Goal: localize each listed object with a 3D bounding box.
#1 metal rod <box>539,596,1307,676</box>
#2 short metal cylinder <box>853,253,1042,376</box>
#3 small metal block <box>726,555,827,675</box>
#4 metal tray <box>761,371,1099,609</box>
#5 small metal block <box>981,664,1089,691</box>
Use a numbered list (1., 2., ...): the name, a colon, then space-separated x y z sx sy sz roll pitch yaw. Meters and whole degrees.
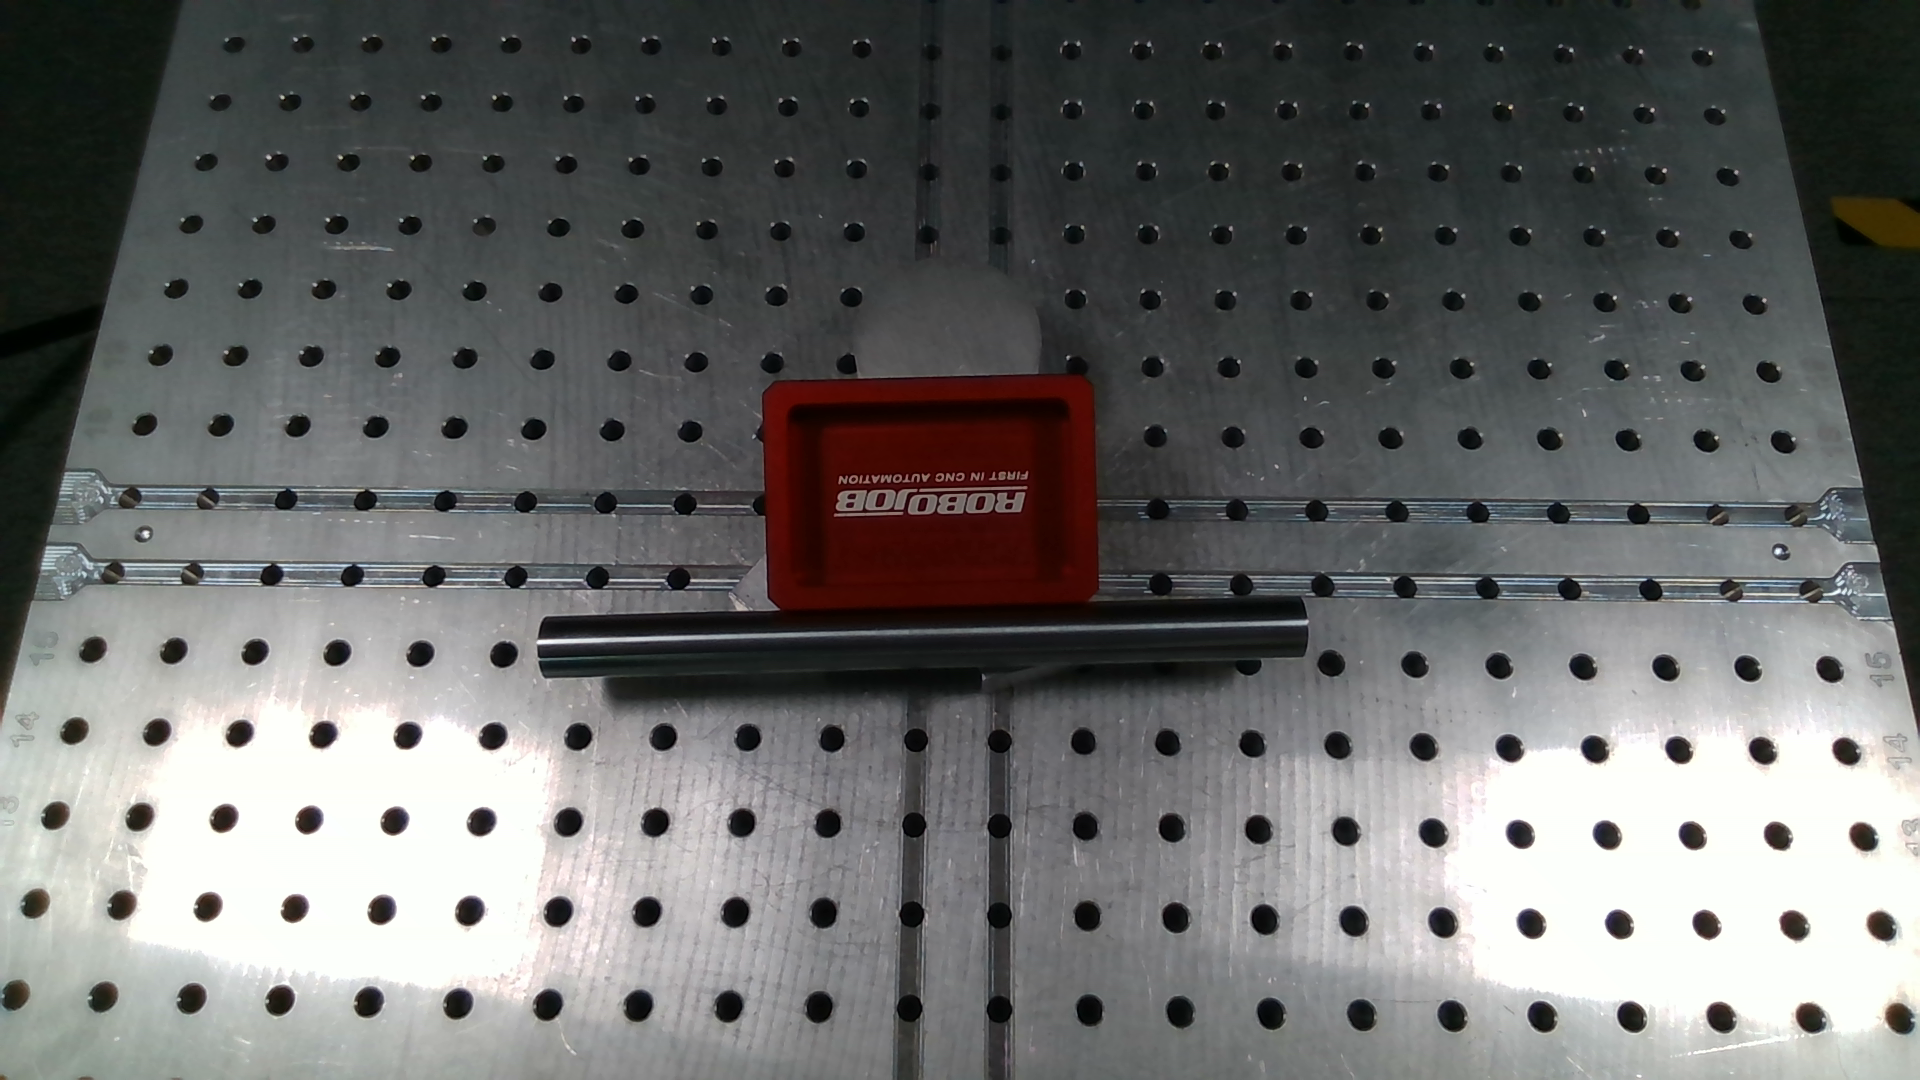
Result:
1. metal rod: -0.014 0.038 0.550 0.300 0.025 0.025 -1 70 -1
2. short metal cylinder: -0.005 -0.078 0.604 0.080 0.050 0.080 0 70 0
3. small metal block: -0.062 0.022 0.582 0.050 0.025 0.050 37 74 12
4. metal tray: -0.012 -0.019 0.553 0.130 0.030 0.090 -2 90 0
5. small metal block: 0.027 0.031 0.580 0.050 0.025 0.050 -14 71 -5
